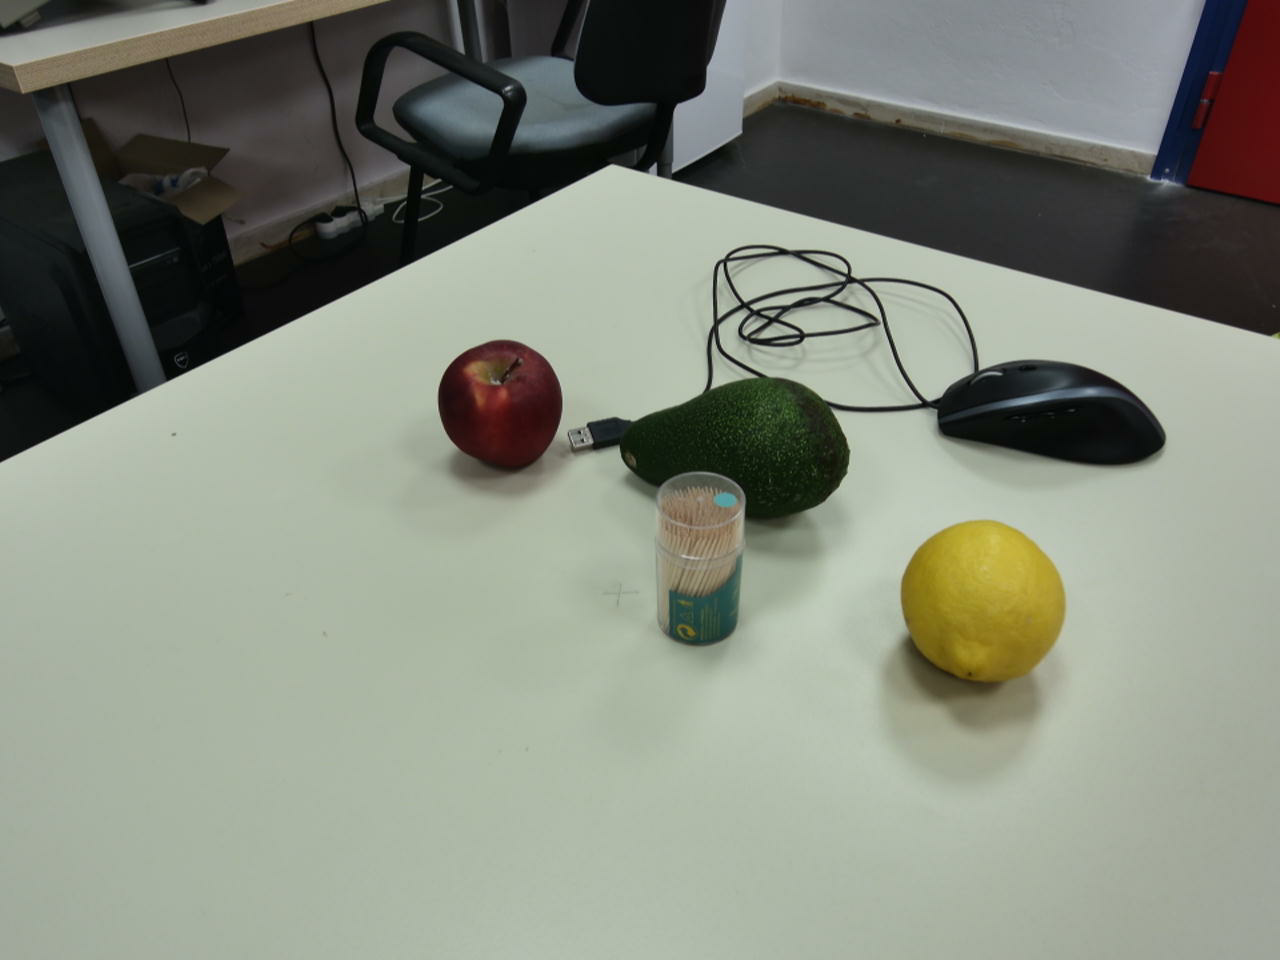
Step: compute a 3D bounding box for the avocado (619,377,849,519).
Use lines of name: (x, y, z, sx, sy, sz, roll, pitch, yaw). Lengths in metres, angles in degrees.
avocado: (0.053, -0.023, 0.526, 0.123, 0.076, 0.074, 30, 47, 34)
